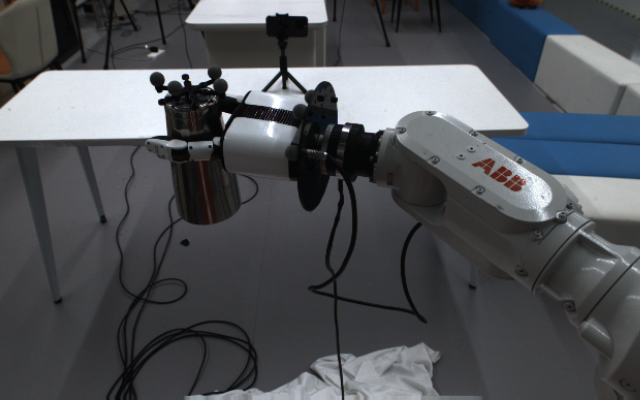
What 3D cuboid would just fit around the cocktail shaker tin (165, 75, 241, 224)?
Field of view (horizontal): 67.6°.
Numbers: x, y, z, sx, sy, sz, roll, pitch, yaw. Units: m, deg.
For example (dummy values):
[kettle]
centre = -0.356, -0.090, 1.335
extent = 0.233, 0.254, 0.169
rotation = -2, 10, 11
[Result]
[cocktail shaker tin]
centre = -0.156, -0.063, 0.647
extent = 0.093, 0.170, 0.093
rotation = 1, 40, 0
